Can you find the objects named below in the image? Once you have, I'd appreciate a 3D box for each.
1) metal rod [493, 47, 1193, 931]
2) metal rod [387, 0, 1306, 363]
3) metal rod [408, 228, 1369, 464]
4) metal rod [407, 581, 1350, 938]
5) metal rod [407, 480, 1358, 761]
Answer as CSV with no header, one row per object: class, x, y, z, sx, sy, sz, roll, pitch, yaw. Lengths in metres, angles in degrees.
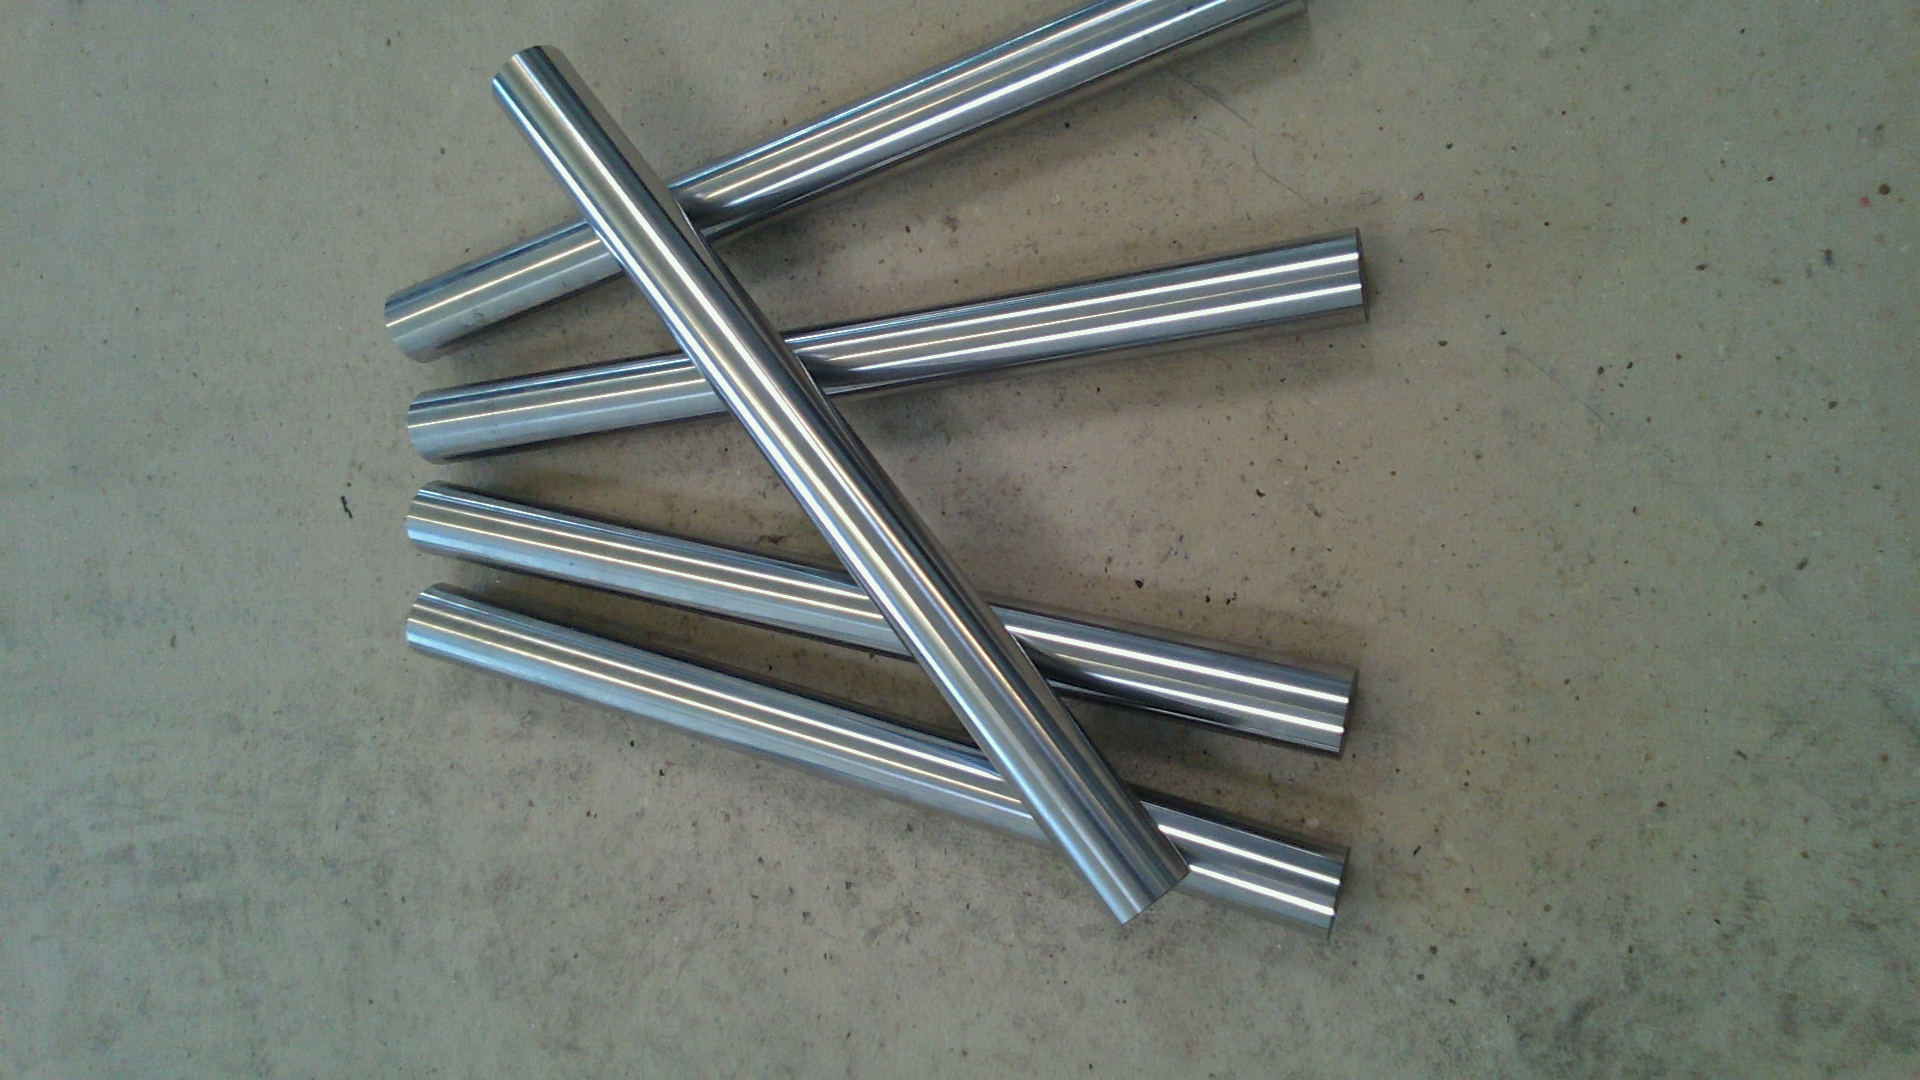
metal rod,-0.040,-0.024,0.383,0.025,0.025,0.300,-41,77,15
metal rod,-0.048,-0.111,0.414,0.299,0.025,0.025,-16,85,19
metal rod,-0.035,-0.053,0.409,0.299,0.025,0.025,-6,88,20
metal rod,-0.038,0.059,0.410,0.299,0.025,0.025,13,95,19
metal rod,-0.037,0.019,0.409,0.299,0.025,0.025,11,94,19
